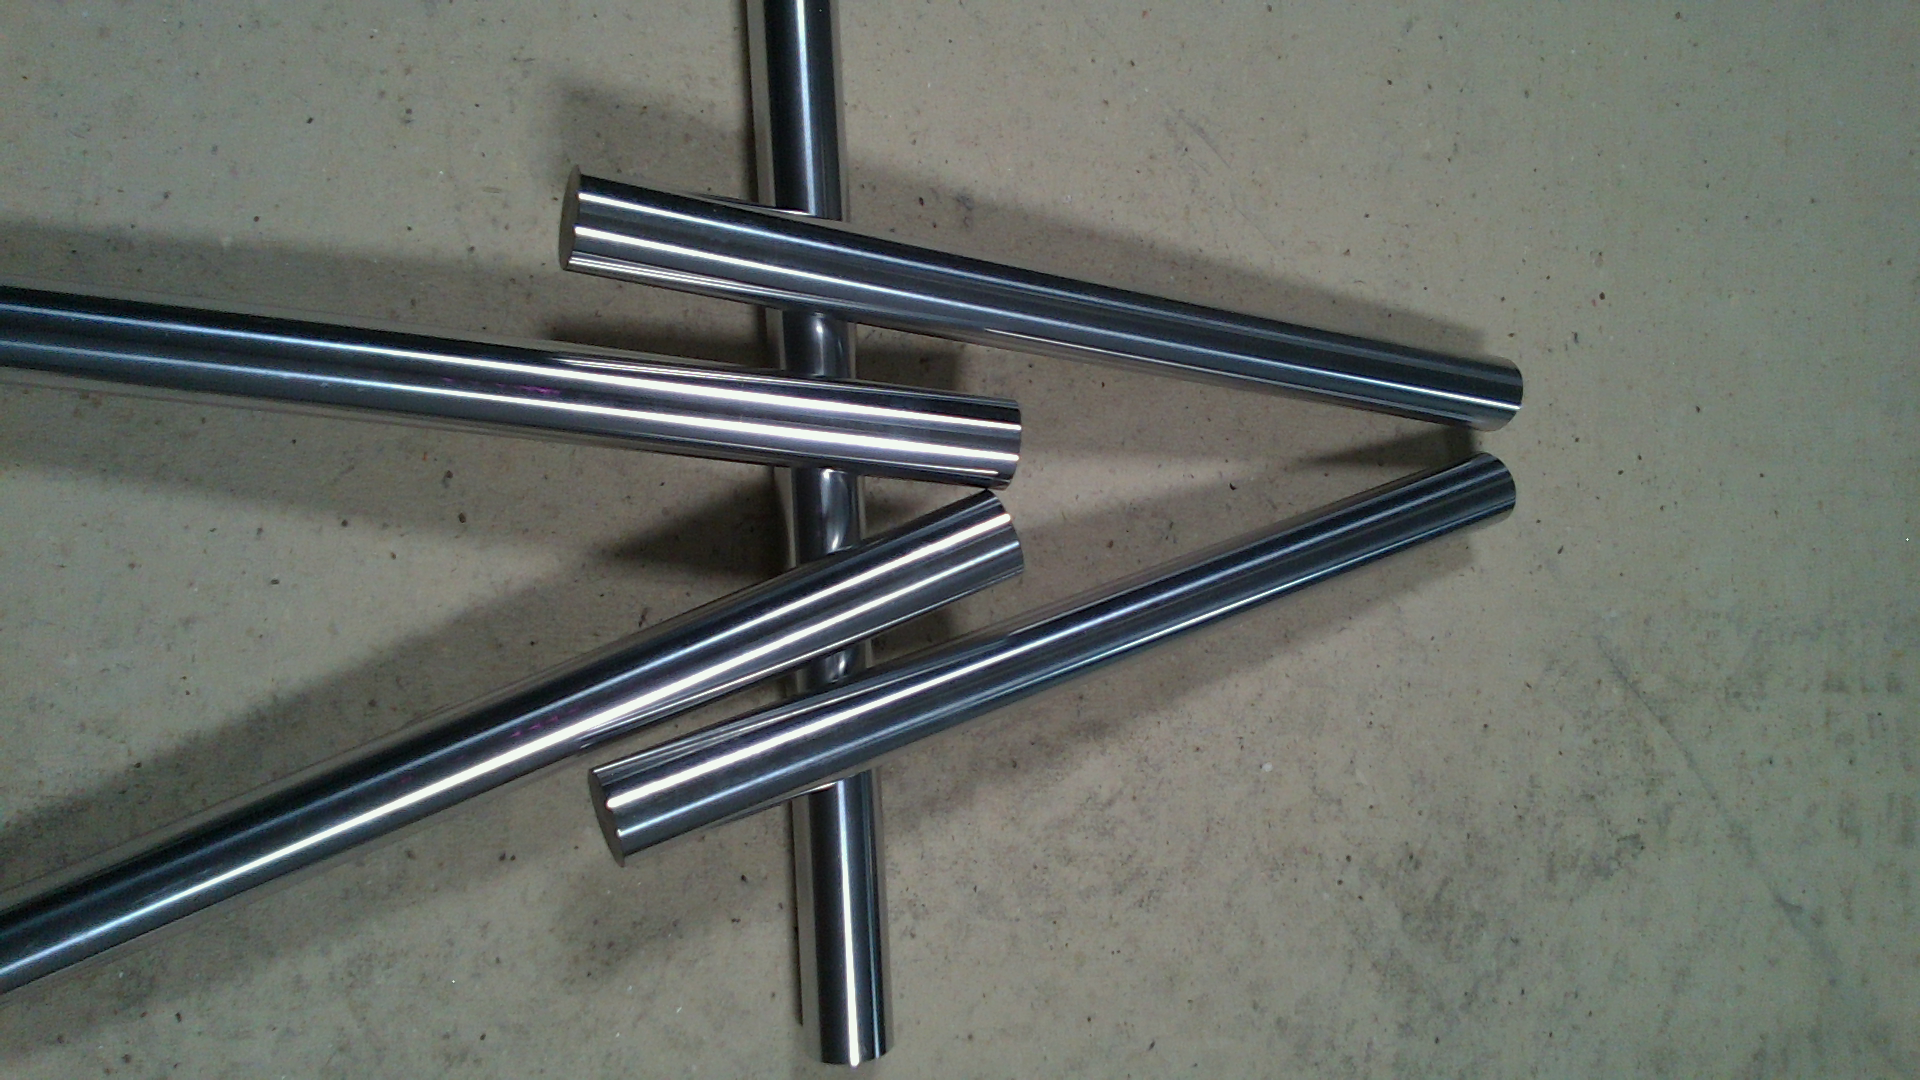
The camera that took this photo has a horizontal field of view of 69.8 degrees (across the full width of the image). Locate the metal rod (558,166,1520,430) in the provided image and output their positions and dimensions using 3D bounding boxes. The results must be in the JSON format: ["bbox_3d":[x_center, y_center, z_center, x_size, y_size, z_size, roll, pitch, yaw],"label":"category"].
[{"bbox_3d":[0.042,-0.062,0.391,0.301,0.025,0.025,6,88,-26],"label":"metal rod"}]

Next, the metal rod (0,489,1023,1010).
[{"bbox_3d":[-0.124,0.054,0.334,0.301,0.025,0.025,-23,98,-13],"label":"metal rod"}]

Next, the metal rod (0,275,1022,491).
[{"bbox_3d":[-0.132,-0.039,0.330,0.301,0.025,0.025,5,88,-14],"label":"metal rod"}]

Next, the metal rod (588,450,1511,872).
[{"bbox_3d":[0.044,0.025,0.393,0.301,0.025,0.025,-18,96,-25],"label":"metal rod"}]

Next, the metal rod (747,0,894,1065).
[{"bbox_3d":[-0.039,-0.009,0.379,0.025,0.025,0.300,-3,91,-20],"label":"metal rod"}]
